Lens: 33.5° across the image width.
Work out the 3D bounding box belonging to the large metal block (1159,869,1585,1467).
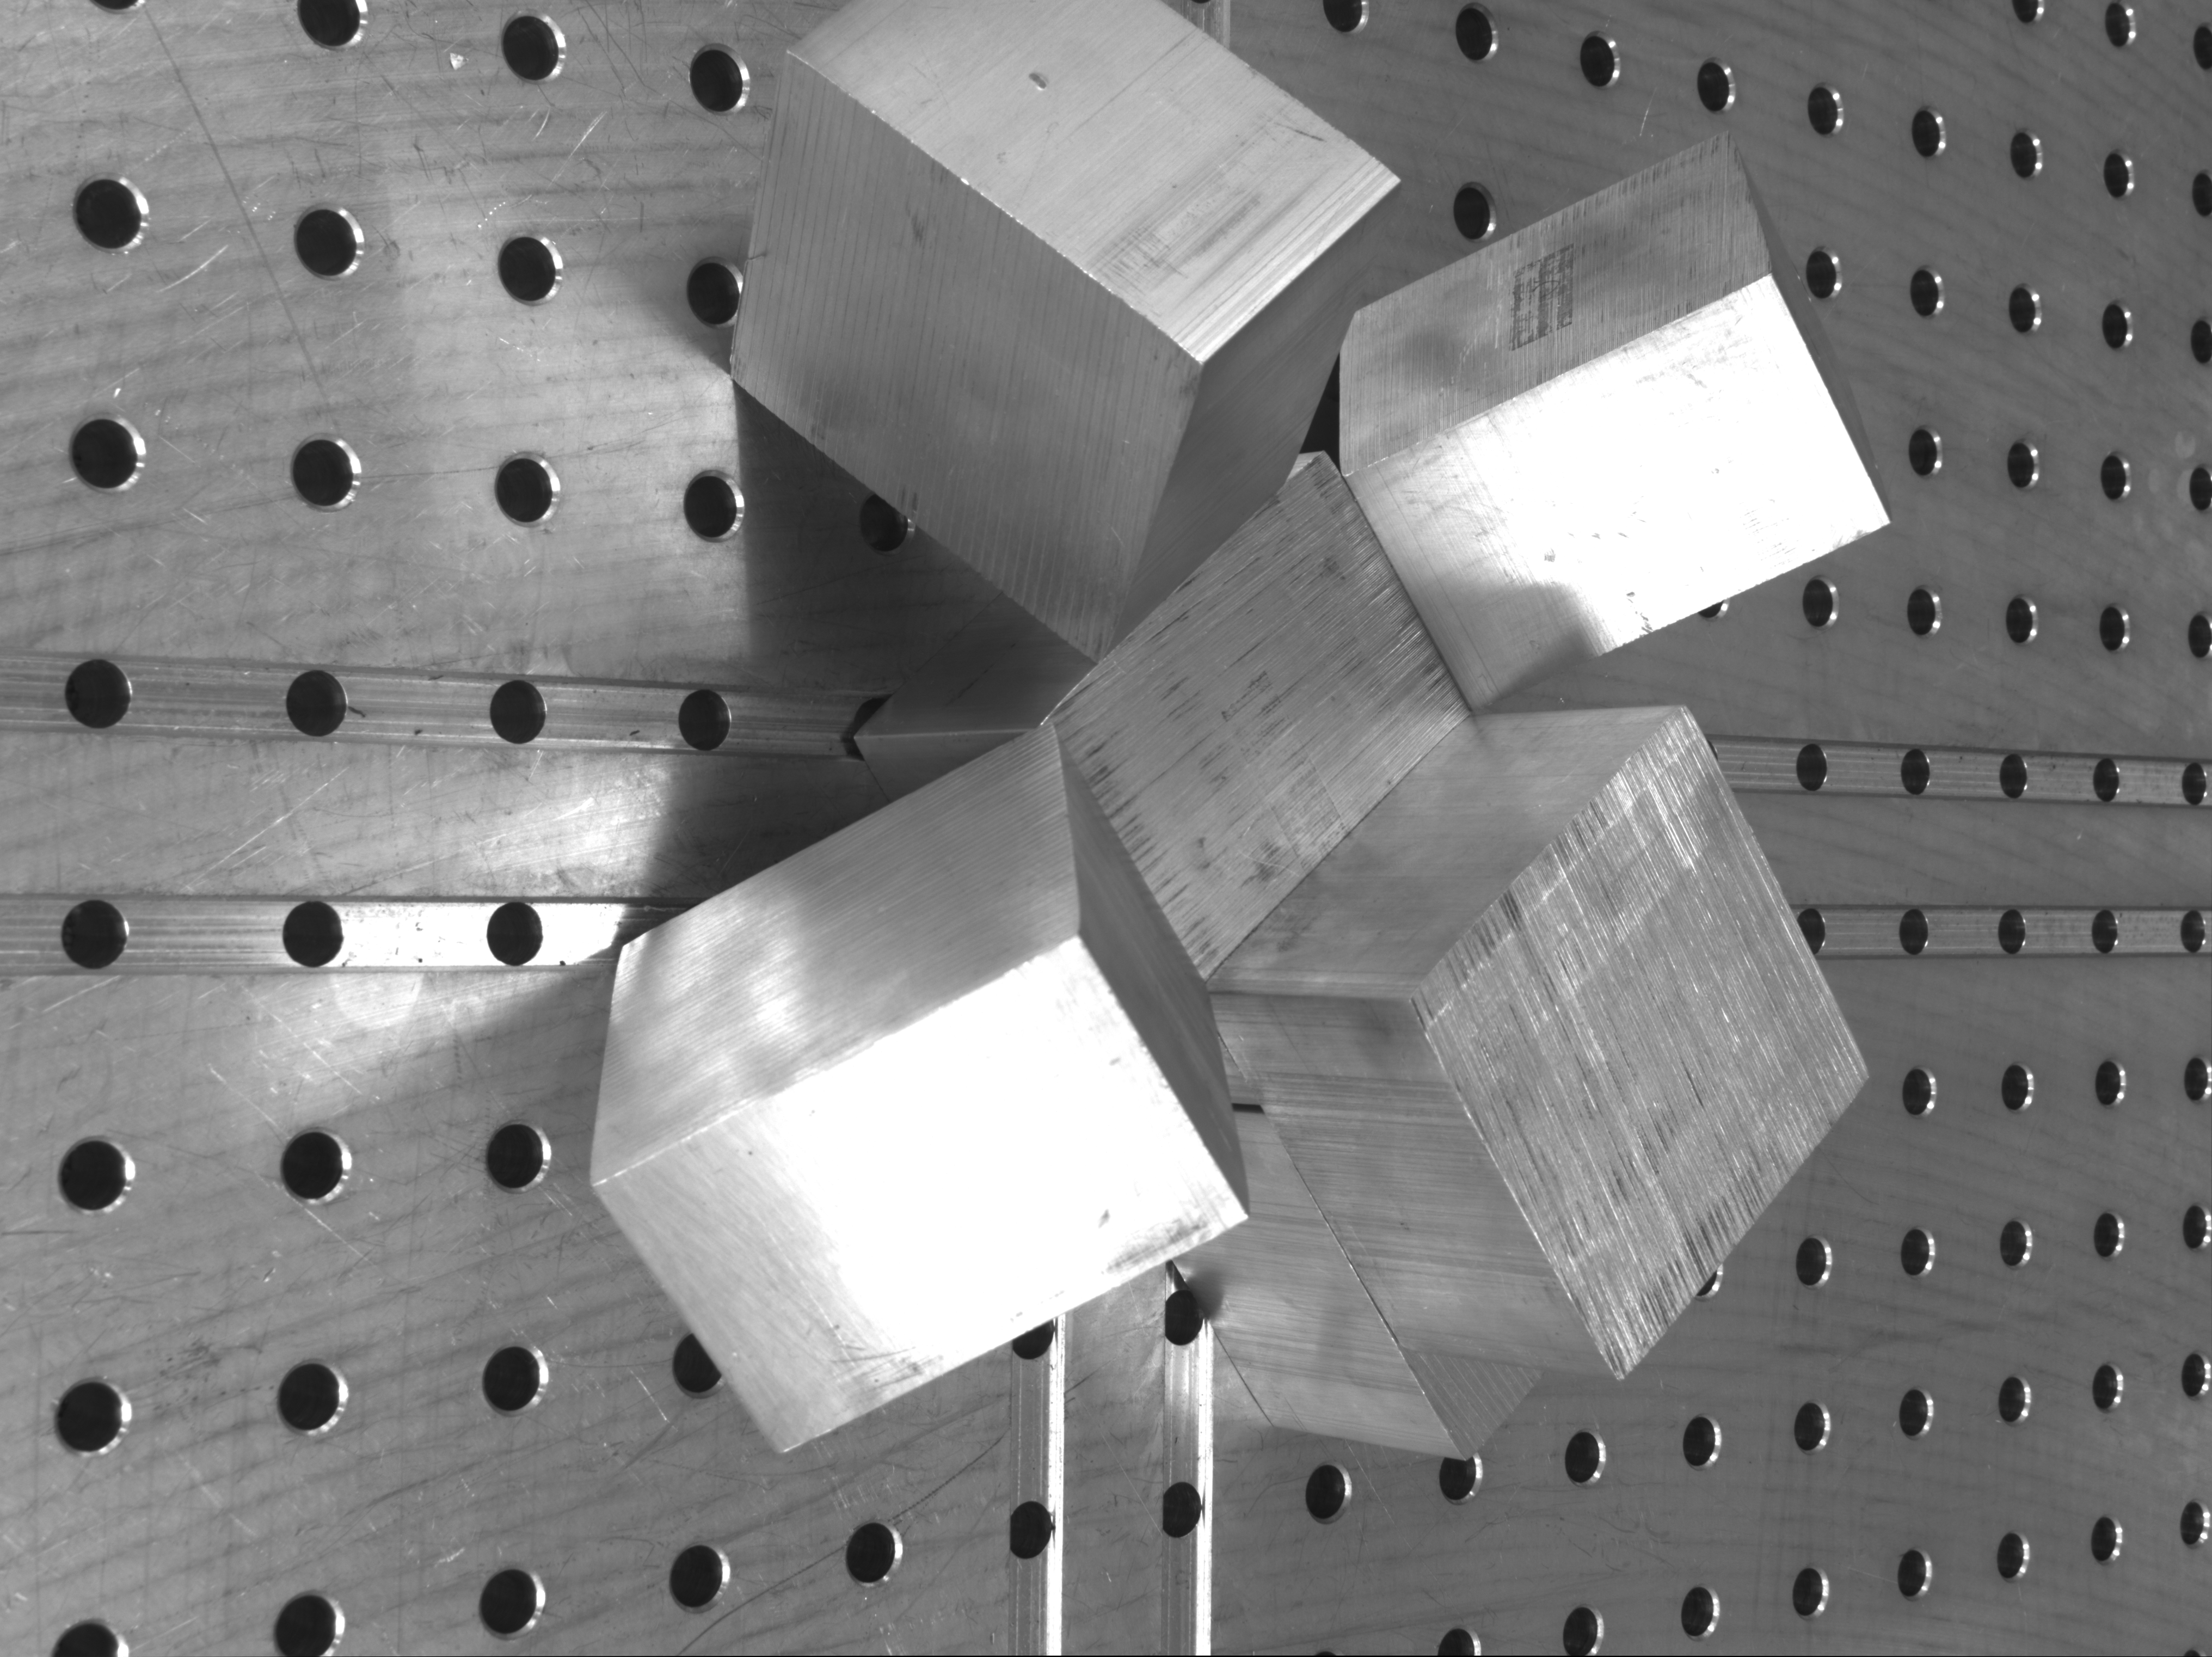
[{"bbox_3d":[0.053,0.056,0.666,0.080,0.050,0.080,-44,115,-32],"label":"large metal block"}]

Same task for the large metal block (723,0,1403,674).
[{"bbox_3d":[-0.009,-0.085,0.576,0.080,0.080,0.050,39,59,11],"label":"large metal block"}]

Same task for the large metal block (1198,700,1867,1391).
[{"bbox_3d":[0.073,0.035,0.617,0.080,0.050,0.080,-45,117,-32],"label":"large metal block"}]

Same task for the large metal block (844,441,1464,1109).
[{"bbox_3d":[0.015,-0.009,0.636,0.080,0.050,0.080,-45,117,-30],"label":"large metal block"}]

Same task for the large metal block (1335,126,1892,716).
[{"bbox_3d":[0.088,-0.074,0.657,0.050,0.080,0.080,59,17,-23],"label":"large metal block"}]

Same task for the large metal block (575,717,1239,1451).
[{"bbox_3d":[-0.031,0.037,0.559,0.080,0.080,0.050,-28,113,8],"label":"large metal block"}]
